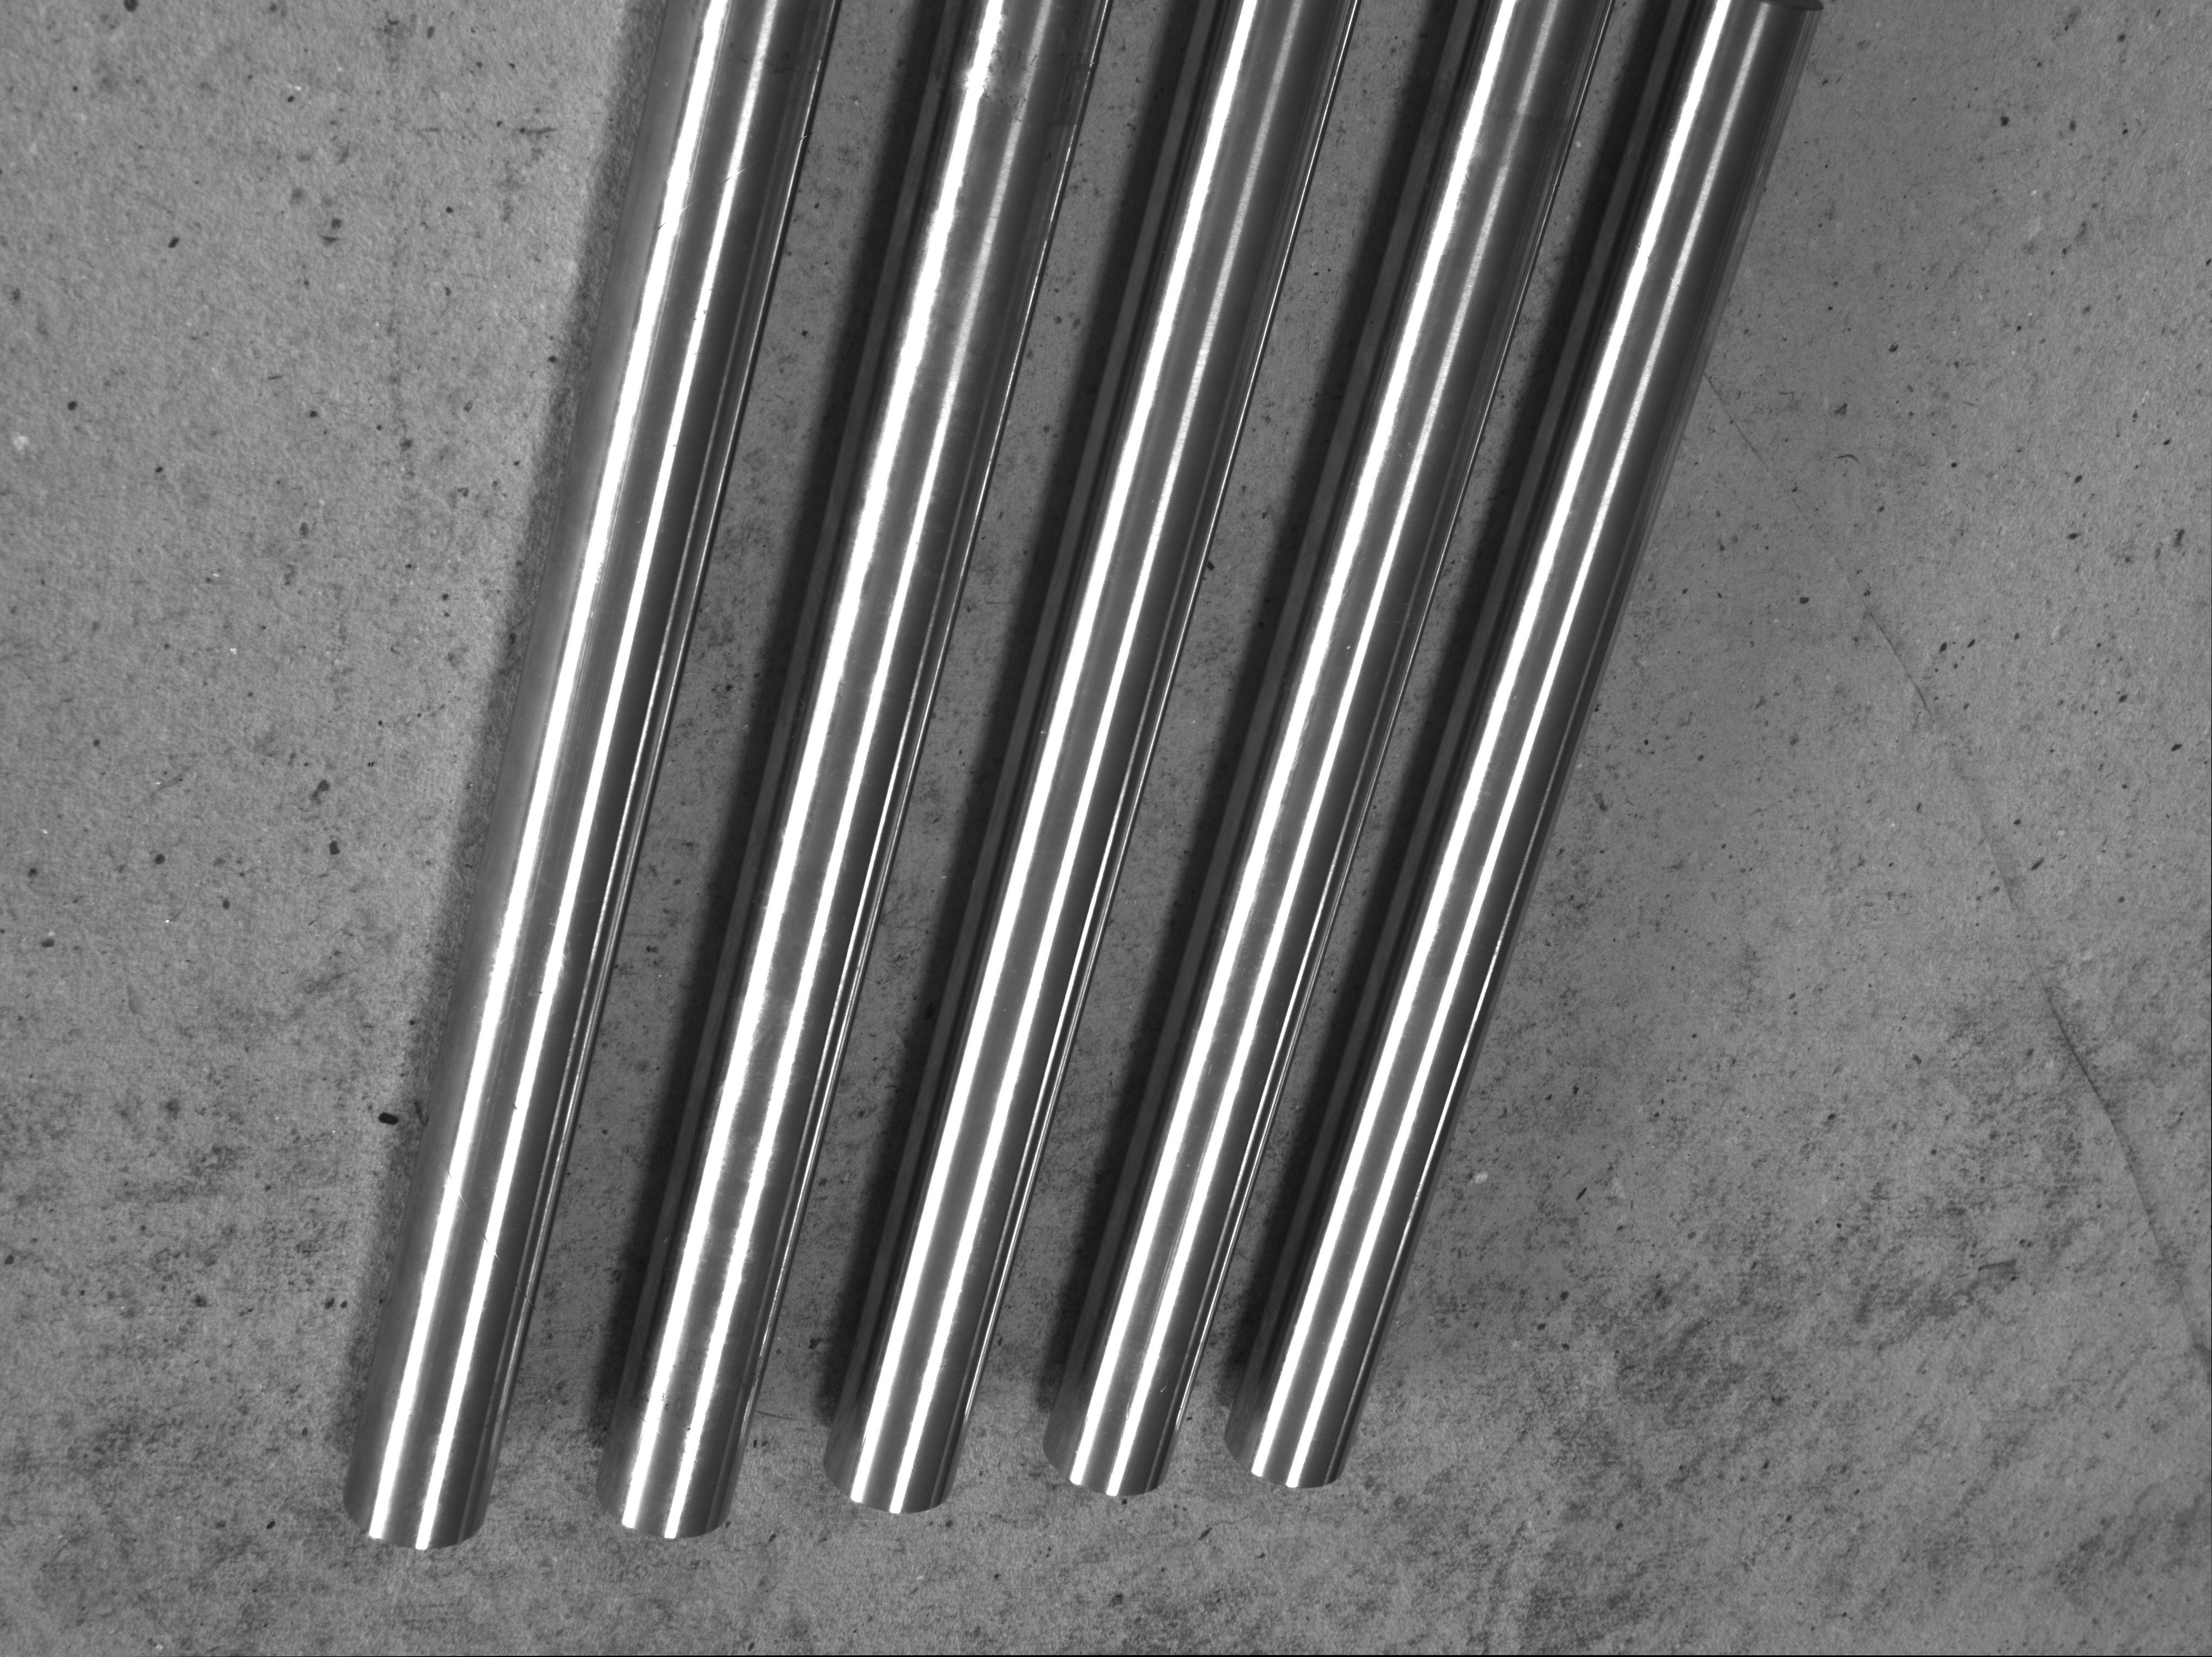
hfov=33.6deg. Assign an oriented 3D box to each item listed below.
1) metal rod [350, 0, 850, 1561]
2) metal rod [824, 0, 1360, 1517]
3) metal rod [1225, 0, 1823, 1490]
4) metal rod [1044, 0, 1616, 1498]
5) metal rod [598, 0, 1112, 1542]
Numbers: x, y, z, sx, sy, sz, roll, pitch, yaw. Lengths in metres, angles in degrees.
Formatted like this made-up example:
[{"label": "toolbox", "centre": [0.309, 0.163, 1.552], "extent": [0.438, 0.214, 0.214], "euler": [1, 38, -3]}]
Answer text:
[{"label": "metal rod", "centre": [-0.082, -0.012, 0.584], "extent": [0.025, 0.025, 0.300], "euler": [2, 117, -29]}, {"label": "metal rod", "centre": [-0.005, -0.011, 0.628], "extent": [0.025, 0.025, 0.300], "euler": [1, 117, -29]}, {"label": "metal rod", "centre": [0.072, -0.008, 0.671], "extent": [0.025, 0.025, 0.300], "euler": [1, 117, -29]}, {"label": "metal rod", "centre": [0.036, -0.010, 0.650], "extent": [0.025, 0.025, 0.300], "euler": [1, 117, -29]}, {"label": "metal rod", "centre": [-0.044, -0.010, 0.607], "extent": [0.025, 0.025, 0.300], "euler": [2, 117, -29]}]
